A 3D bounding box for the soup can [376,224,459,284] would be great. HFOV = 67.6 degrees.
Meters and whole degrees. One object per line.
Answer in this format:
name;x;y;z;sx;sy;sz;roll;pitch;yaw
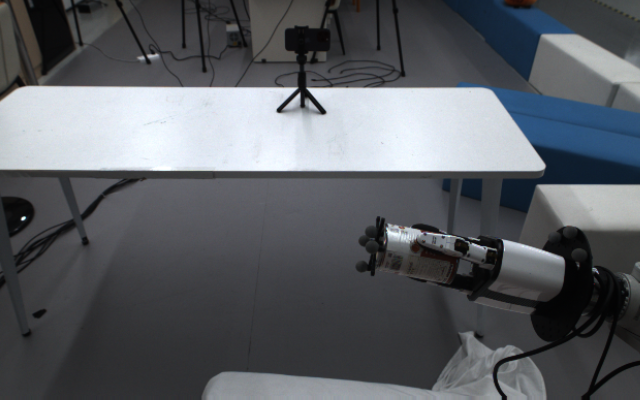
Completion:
soup can;0.133;0.072;0.661;0.101;0.067;0.067;11;35;-2
